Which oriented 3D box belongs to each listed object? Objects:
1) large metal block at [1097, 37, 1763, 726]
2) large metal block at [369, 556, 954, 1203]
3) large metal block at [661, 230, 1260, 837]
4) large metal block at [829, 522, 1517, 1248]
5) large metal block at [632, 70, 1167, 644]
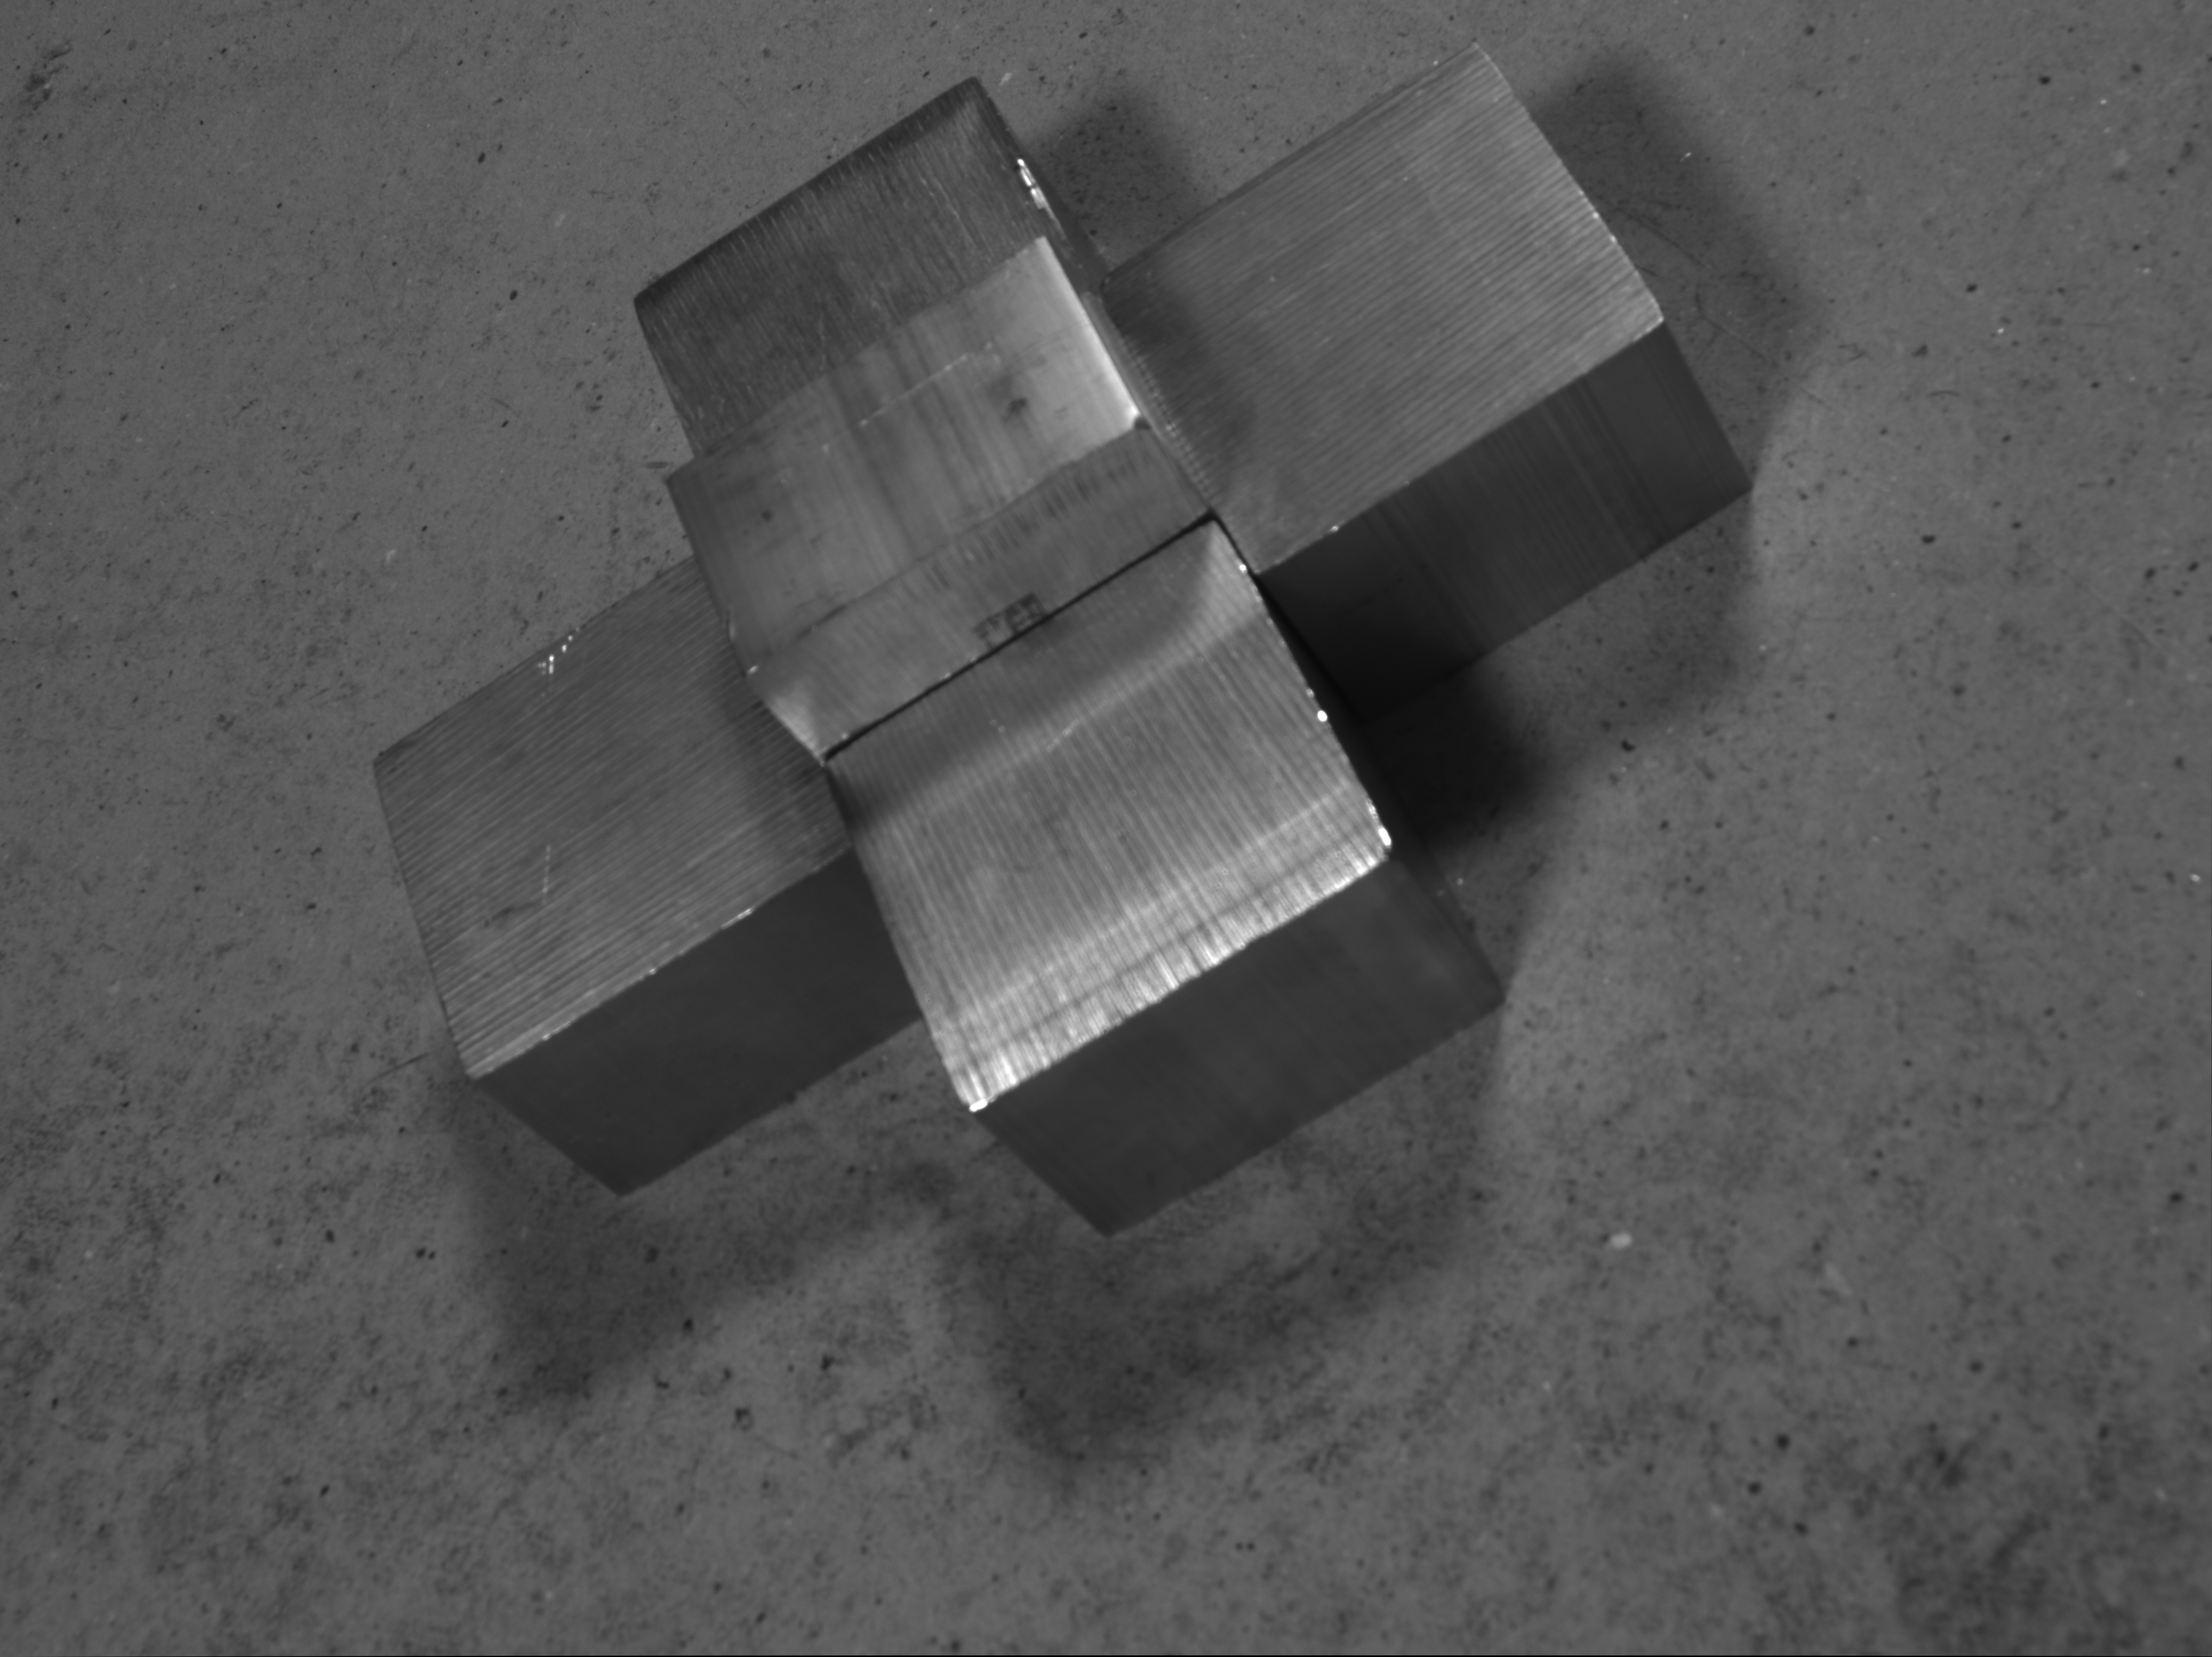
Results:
[{"bbox_3d":[0.056,-0.078,0.645,0.080,0.050,0.080,-32,51,8],"label":"large metal block"},{"bbox_3d":[-0.078,0.007,0.665,0.080,0.050,0.080,-32,51,8],"label":"large metal block"},{"bbox_3d":[-0.018,-0.045,0.646,0.080,0.080,0.050,-32,51,8],"label":"large metal block"},{"bbox_3d":[0.010,0.009,0.616,0.080,0.050,0.080,-32,51,8],"label":"large metal block"},{"bbox_3d":[-0.034,-0.083,0.697,0.080,0.050,0.080,-32,51,8],"label":"large metal block"}]
